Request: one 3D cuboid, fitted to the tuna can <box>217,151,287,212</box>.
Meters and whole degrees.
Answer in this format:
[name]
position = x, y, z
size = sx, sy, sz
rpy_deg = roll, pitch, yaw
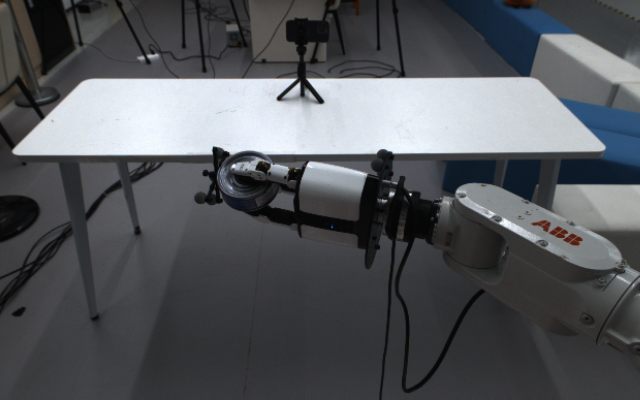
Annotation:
[tuna can]
position = -0.101, -0.028, 0.690
size = 0.085, 0.034, 0.085
rpy_deg = -2, 58, 3
